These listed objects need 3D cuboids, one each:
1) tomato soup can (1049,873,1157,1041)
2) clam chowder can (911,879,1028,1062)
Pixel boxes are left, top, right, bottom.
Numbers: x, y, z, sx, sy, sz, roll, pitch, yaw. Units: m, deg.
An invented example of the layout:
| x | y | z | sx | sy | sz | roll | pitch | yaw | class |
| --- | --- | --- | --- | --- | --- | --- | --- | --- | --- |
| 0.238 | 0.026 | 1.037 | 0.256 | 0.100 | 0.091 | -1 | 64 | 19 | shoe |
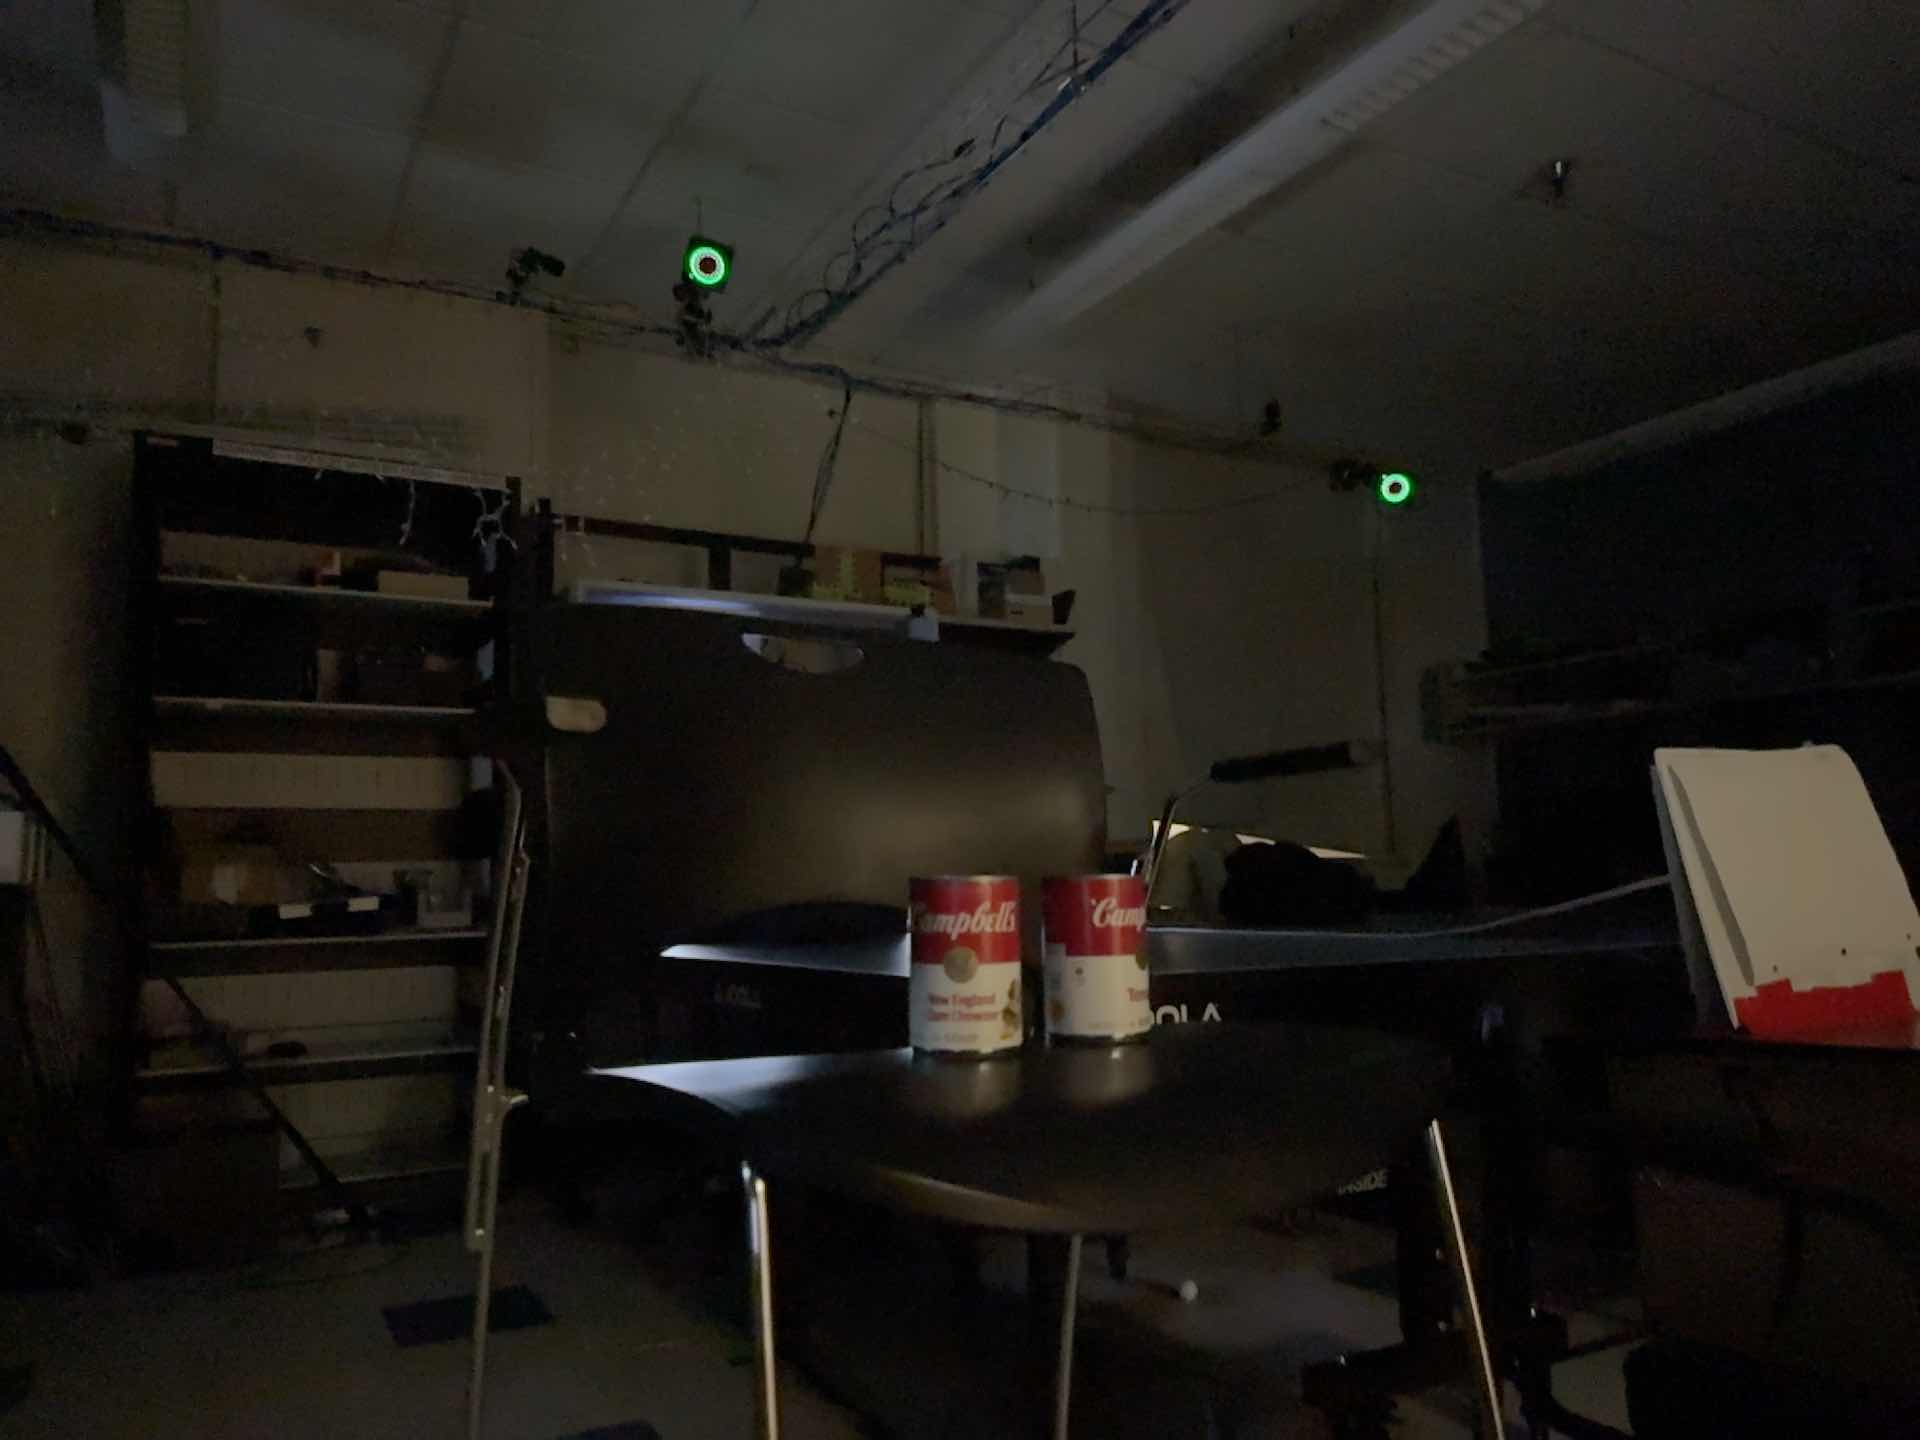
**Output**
| x | y | z | sx | sy | sz | roll | pitch | yaw | class |
| --- | --- | --- | --- | --- | --- | --- | --- | --- | --- |
| 0.089 | 0.148 | 0.848 | 0.067 | 0.102 | 0.067 | 1 | -8 | 0 | tomato soup can |
| 0.005 | 0.145 | 0.791 | 0.068 | 0.102 | 0.068 | 1 | -7 | 0 | clam chowder can |
